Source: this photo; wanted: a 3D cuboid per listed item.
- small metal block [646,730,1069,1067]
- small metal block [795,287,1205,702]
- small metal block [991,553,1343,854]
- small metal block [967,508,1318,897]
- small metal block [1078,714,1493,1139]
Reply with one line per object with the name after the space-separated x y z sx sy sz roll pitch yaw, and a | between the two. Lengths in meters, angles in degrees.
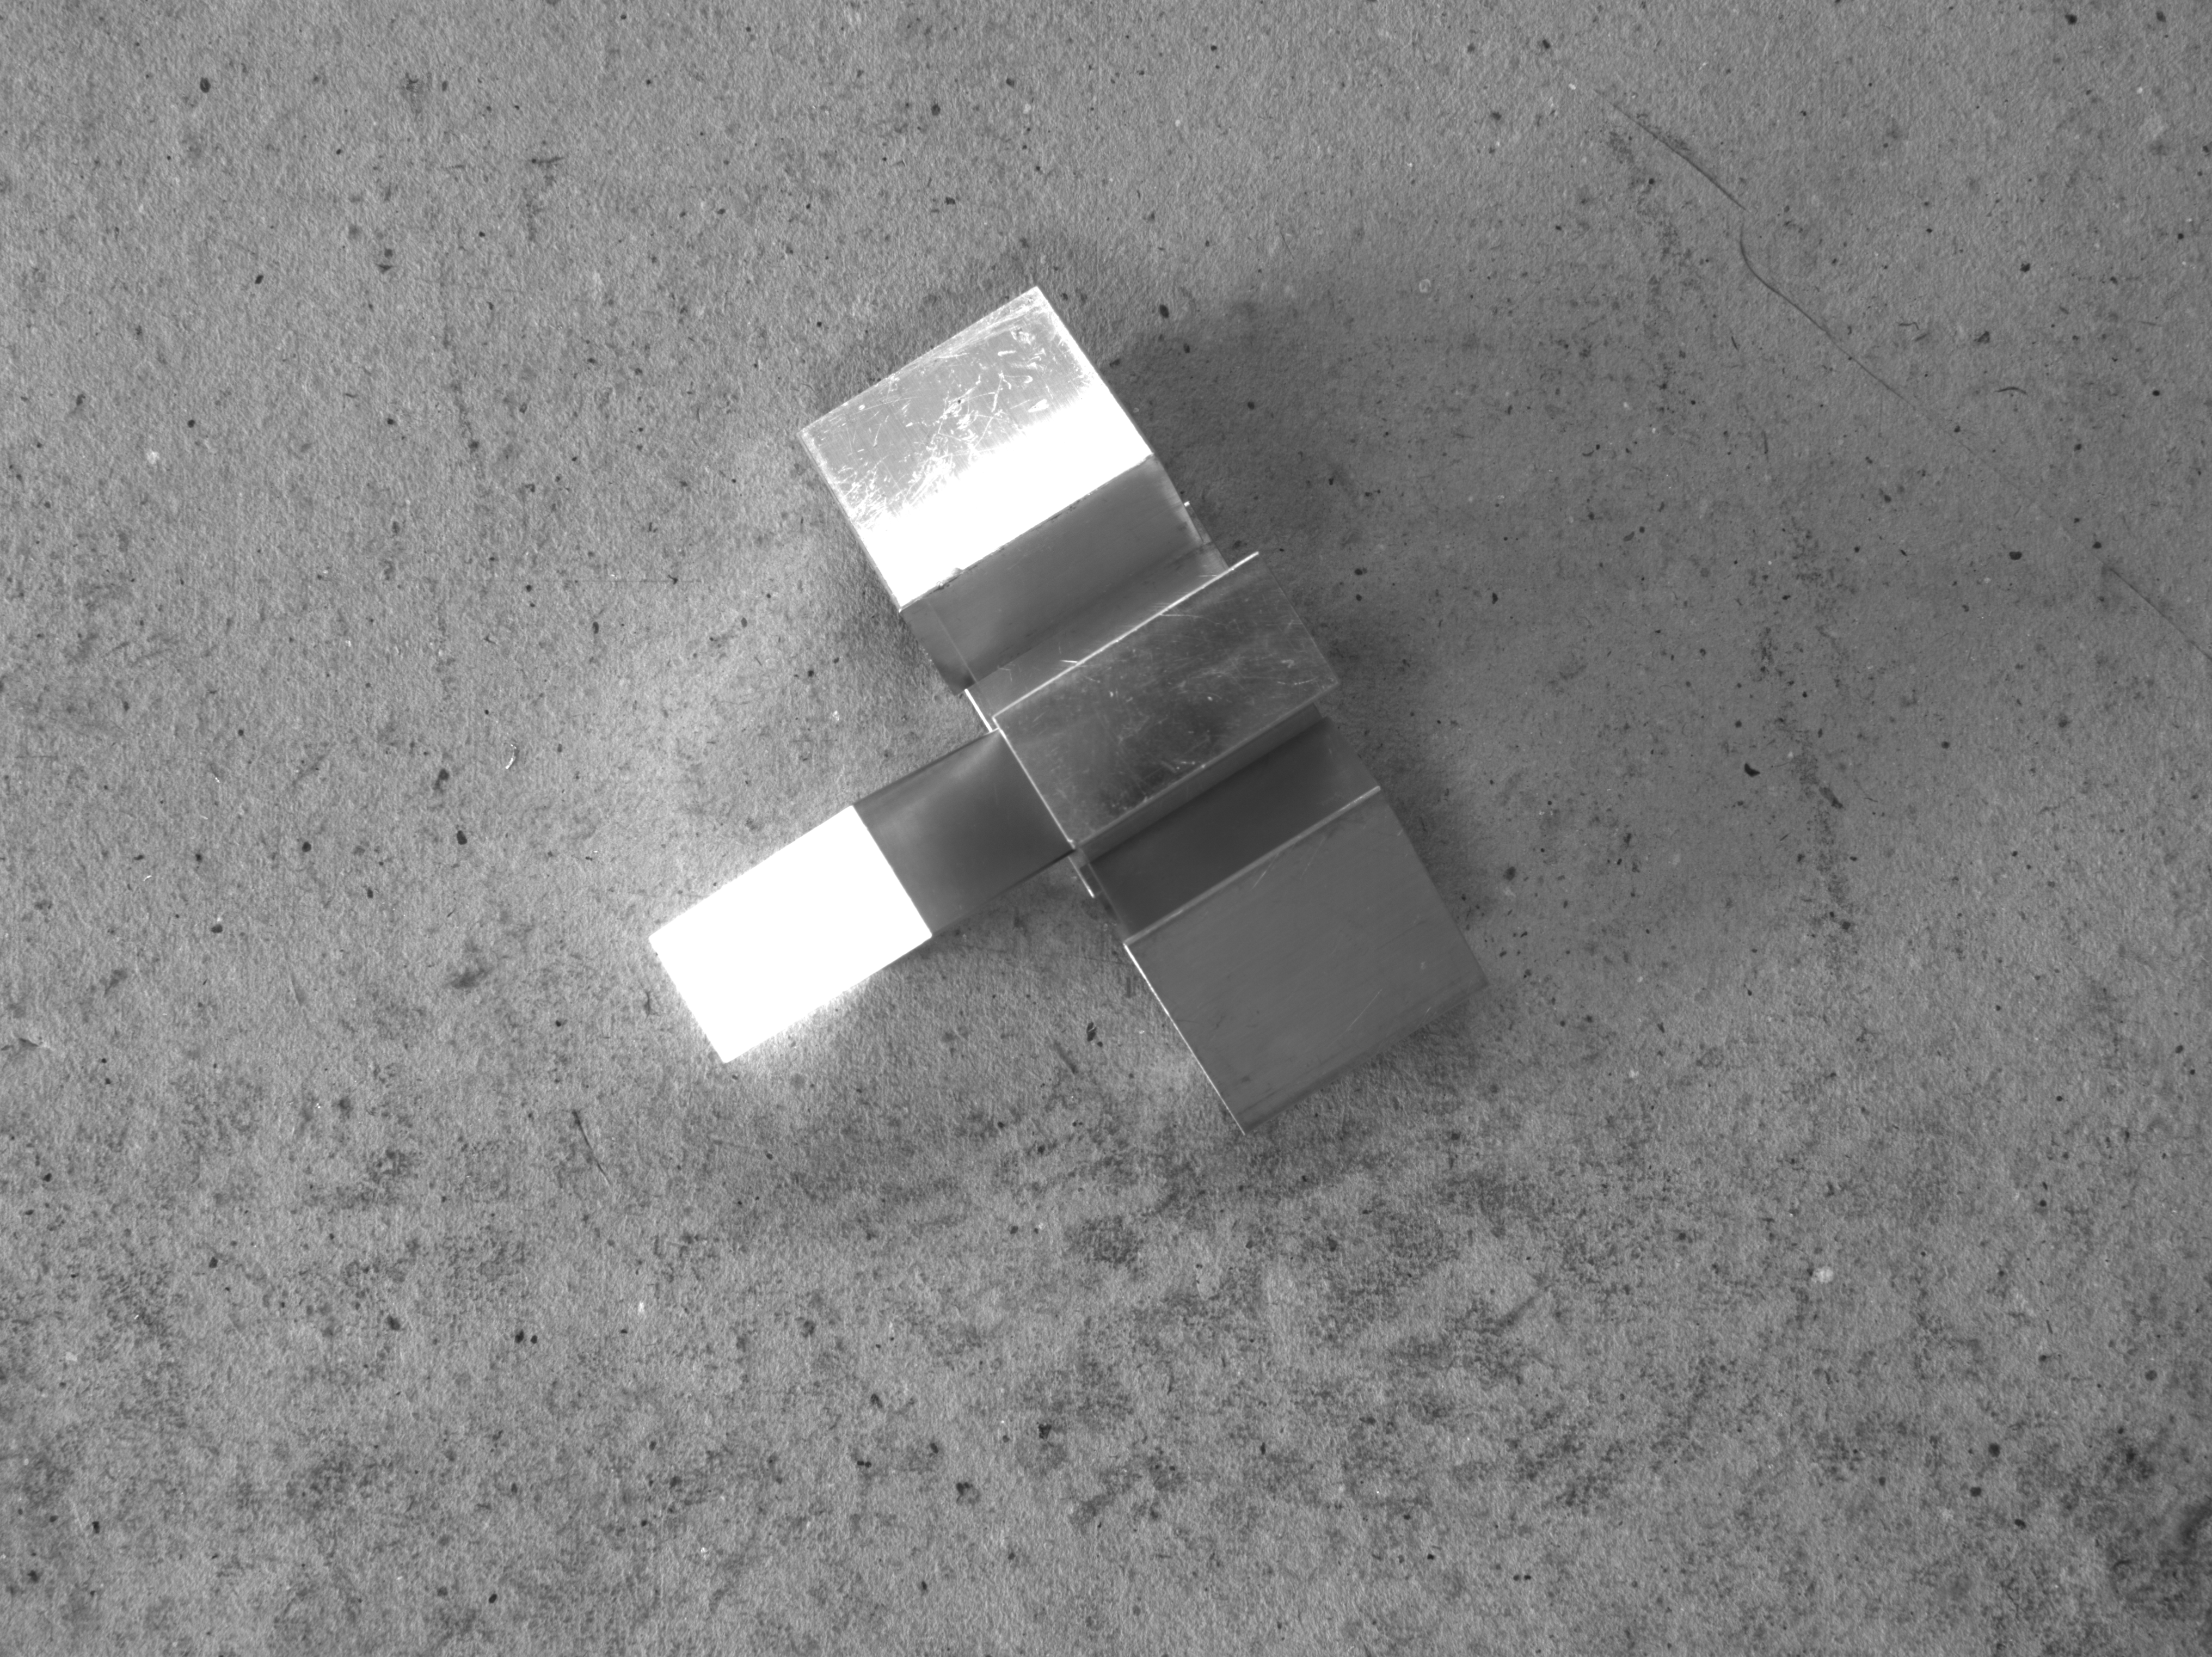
-0.041 0.011 0.624 0.050 0.050 0.025 -31 90 32 | small metal block
-0.019 -0.058 0.634 0.050 0.025 0.050 -32 50 1 | small metal block
0.010 -0.020 0.609 0.050 0.050 0.025 -32 90 0 | small metal block
0.006 -0.022 0.646 0.050 0.025 0.050 -32 89 2 | small metal block
0.031 0.017 0.633 0.050 0.025 0.050 -32 126 0 | small metal block
